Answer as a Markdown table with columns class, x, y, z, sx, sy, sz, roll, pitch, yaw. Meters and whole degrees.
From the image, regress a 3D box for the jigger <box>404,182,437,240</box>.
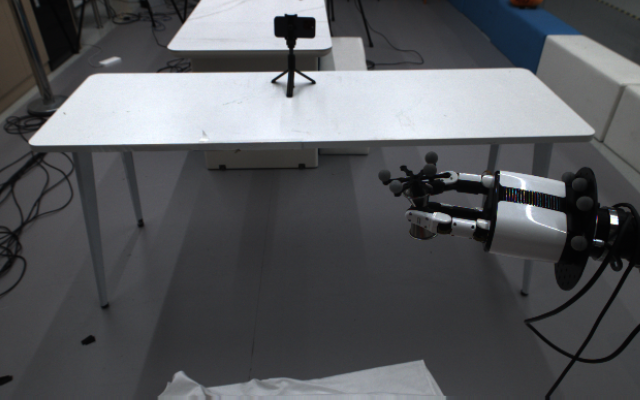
| class | x | y | z | sx | sy | sz | roll | pitch | yaw |
| --- | --- | --- | --- | --- | --- | --- | --- | --- | --- |
| jigger | 0.139 | 0.015 | 0.665 | 0.043 | 0.071 | 0.043 | -12 | 29 | 7 |
